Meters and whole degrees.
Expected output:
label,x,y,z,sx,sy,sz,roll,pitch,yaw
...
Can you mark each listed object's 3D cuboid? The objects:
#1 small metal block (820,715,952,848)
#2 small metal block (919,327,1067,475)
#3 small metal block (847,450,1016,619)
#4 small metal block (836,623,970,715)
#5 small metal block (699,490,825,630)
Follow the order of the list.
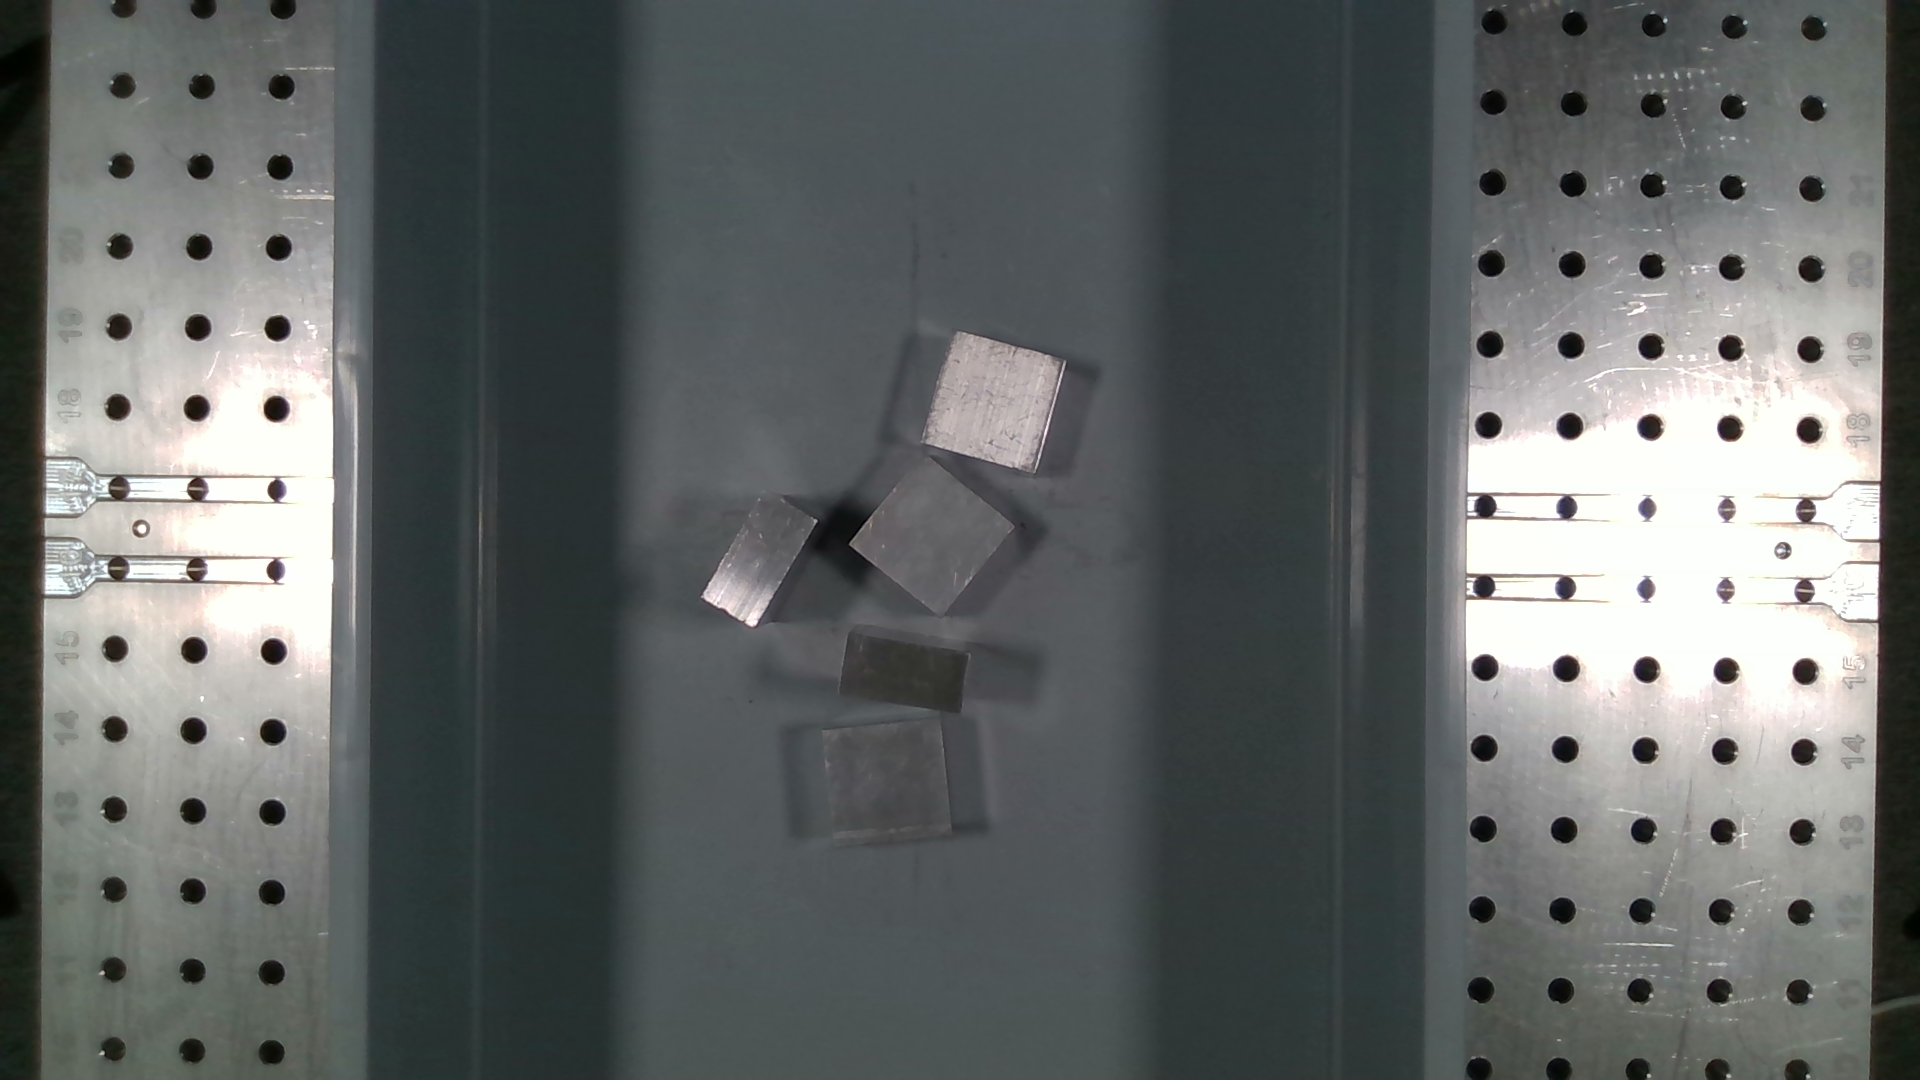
label,x,y,z,sx,sy,sz,roll,pitch,yaw
small metal block,-0.031,0.101,0.586,0.050,0.025,0.050,-6,90,0
small metal block,0.014,-0.058,0.584,0.050,0.025,0.050,15,90,0
small metal block,-0.012,-0.002,0.585,0.050,0.025,0.050,39,90,0
small metal block,-0.023,0.053,0.574,0.050,0.050,0.025,9,91,0
small metal block,-0.080,0.008,0.572,0.025,0.050,0.050,30,91,1
